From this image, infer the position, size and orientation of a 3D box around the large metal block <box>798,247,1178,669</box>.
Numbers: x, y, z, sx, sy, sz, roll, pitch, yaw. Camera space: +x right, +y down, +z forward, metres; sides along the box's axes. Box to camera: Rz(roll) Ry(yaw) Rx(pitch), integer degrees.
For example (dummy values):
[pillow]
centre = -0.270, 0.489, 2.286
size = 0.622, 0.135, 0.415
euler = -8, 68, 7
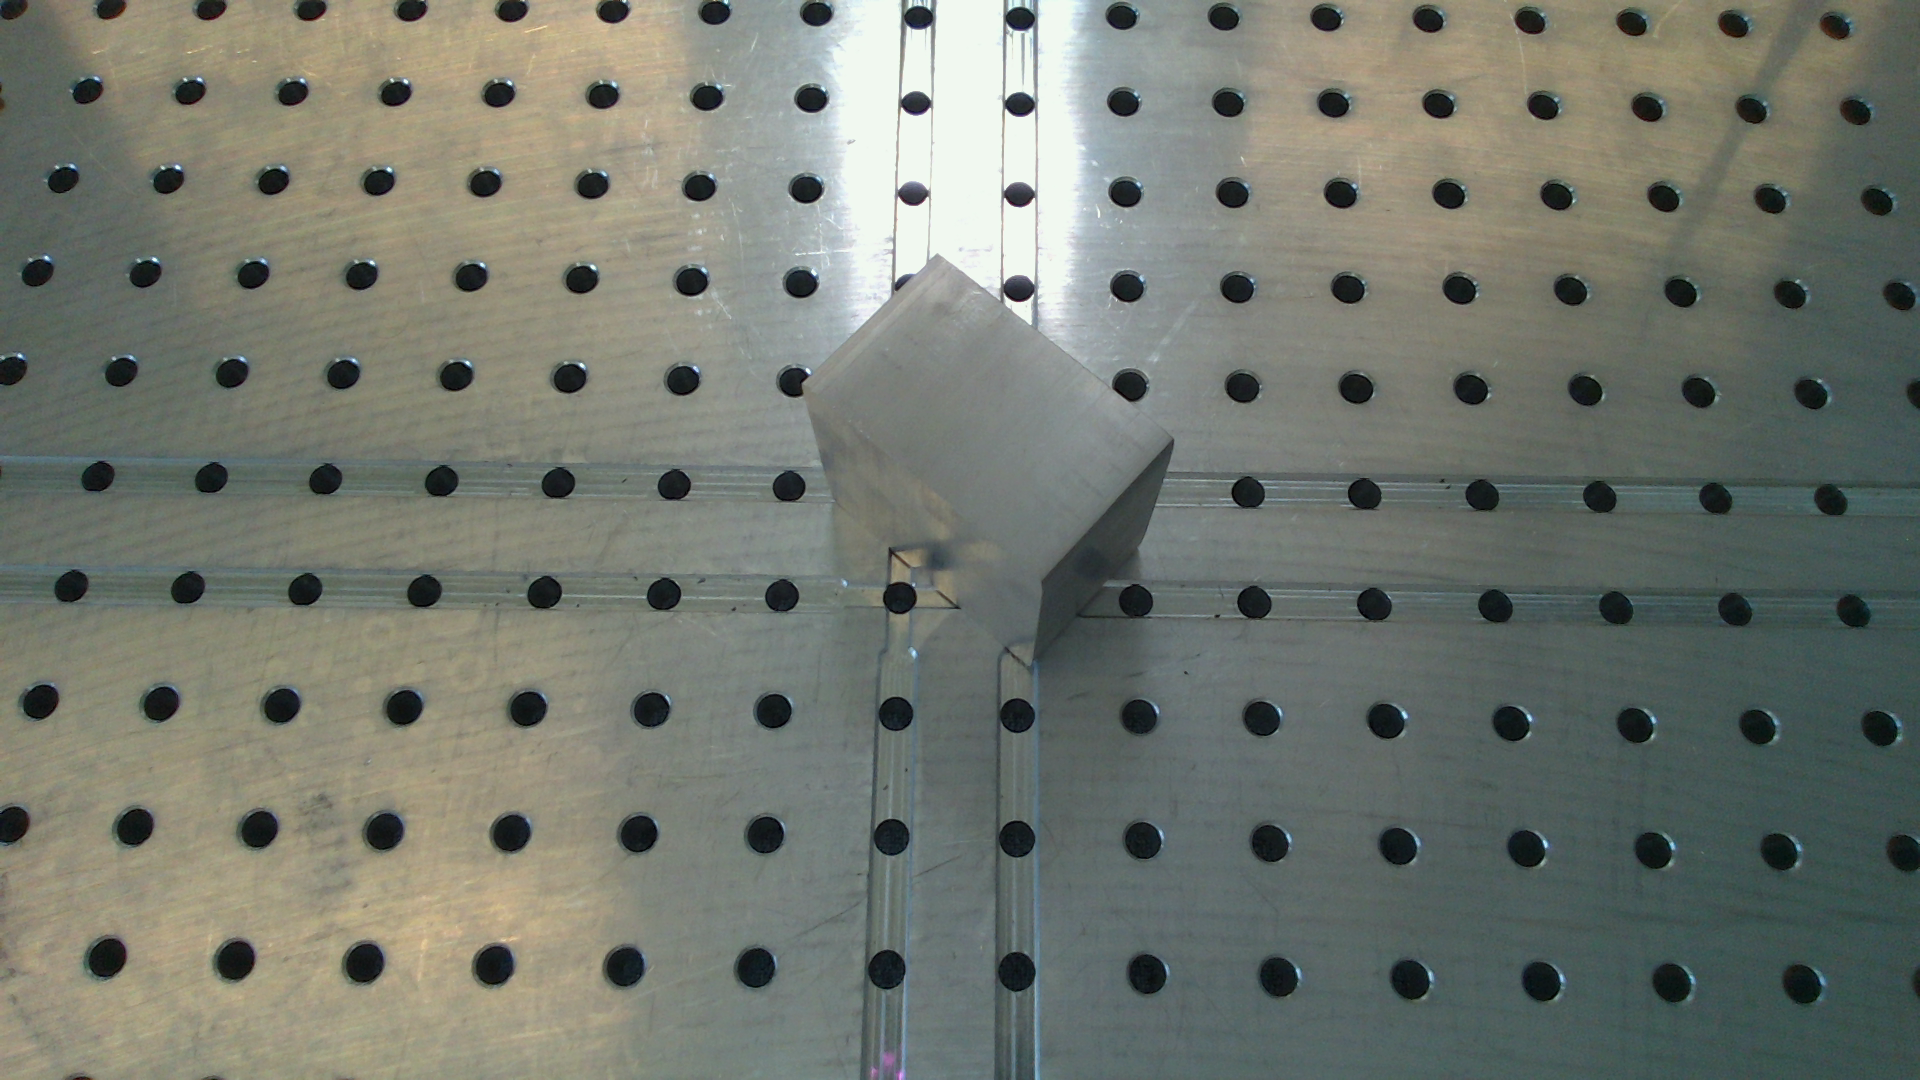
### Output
[large metal block]
centre = 0.007, -0.019, 0.374
size = 0.080, 0.080, 0.050
euler = 40, 75, 13
